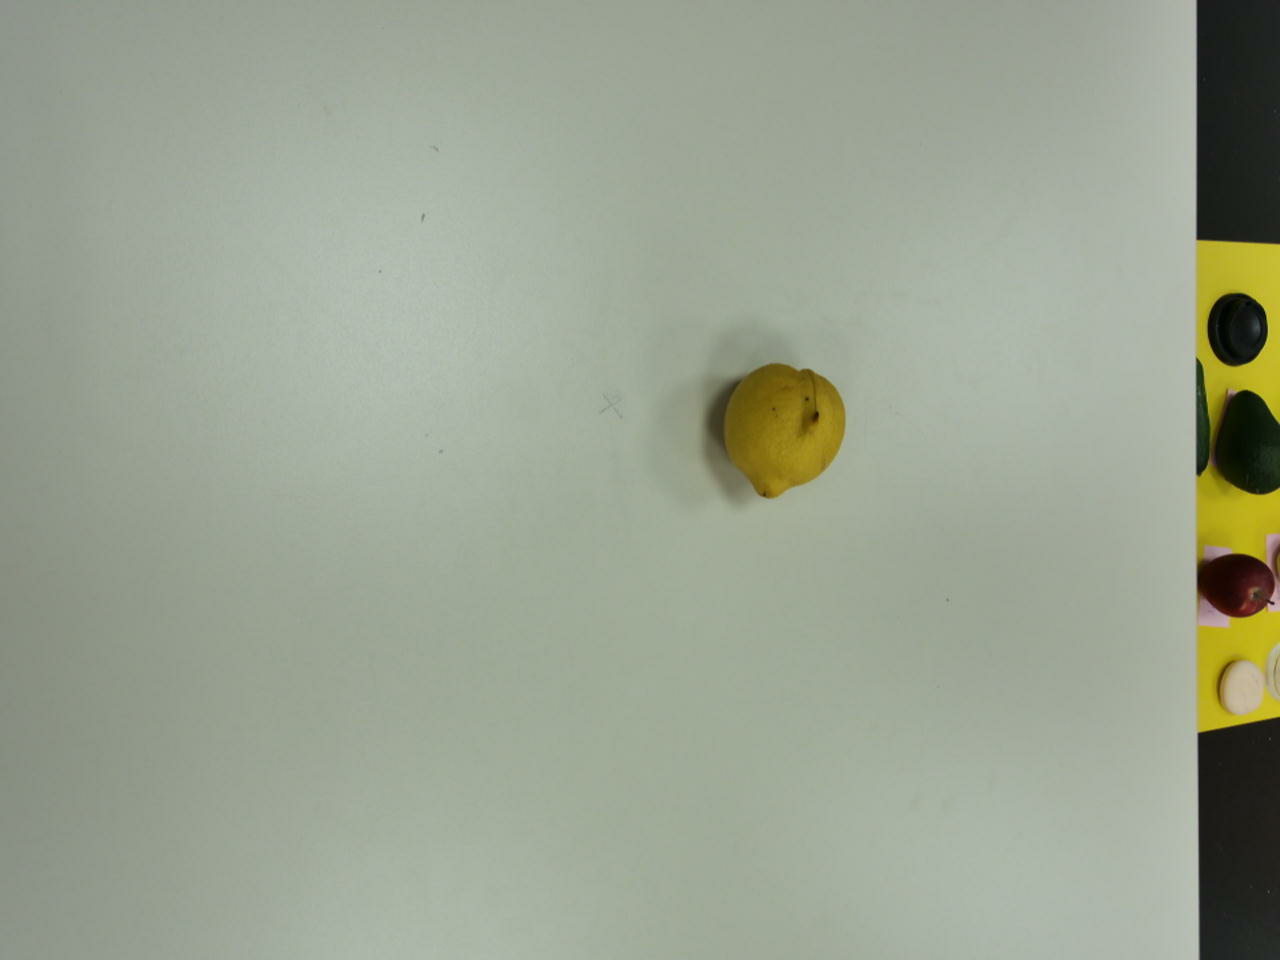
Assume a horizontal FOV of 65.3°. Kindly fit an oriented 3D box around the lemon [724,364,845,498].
[{"bbox_3d":[0.083,-0.031,0.568,0.071,0.071,0.070,-37,103,-18],"label":"lemon"}]
